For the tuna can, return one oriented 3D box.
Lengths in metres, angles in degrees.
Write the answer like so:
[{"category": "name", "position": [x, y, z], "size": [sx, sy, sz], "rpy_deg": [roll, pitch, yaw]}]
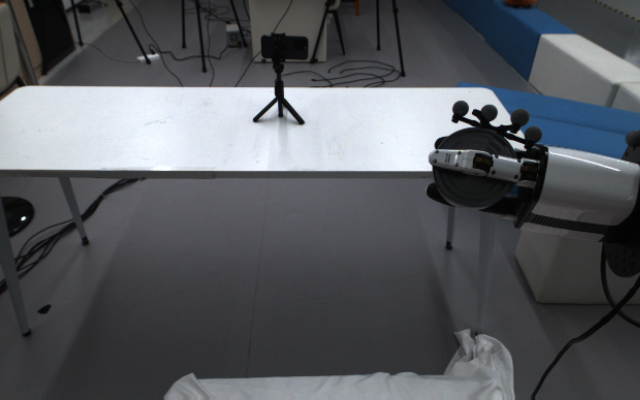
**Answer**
[{"category": "tuna can", "position": [0.167, -0.035, 0.520], "size": [0.085, 0.085, 0.034], "rpy_deg": [14, -7, 16]}]
